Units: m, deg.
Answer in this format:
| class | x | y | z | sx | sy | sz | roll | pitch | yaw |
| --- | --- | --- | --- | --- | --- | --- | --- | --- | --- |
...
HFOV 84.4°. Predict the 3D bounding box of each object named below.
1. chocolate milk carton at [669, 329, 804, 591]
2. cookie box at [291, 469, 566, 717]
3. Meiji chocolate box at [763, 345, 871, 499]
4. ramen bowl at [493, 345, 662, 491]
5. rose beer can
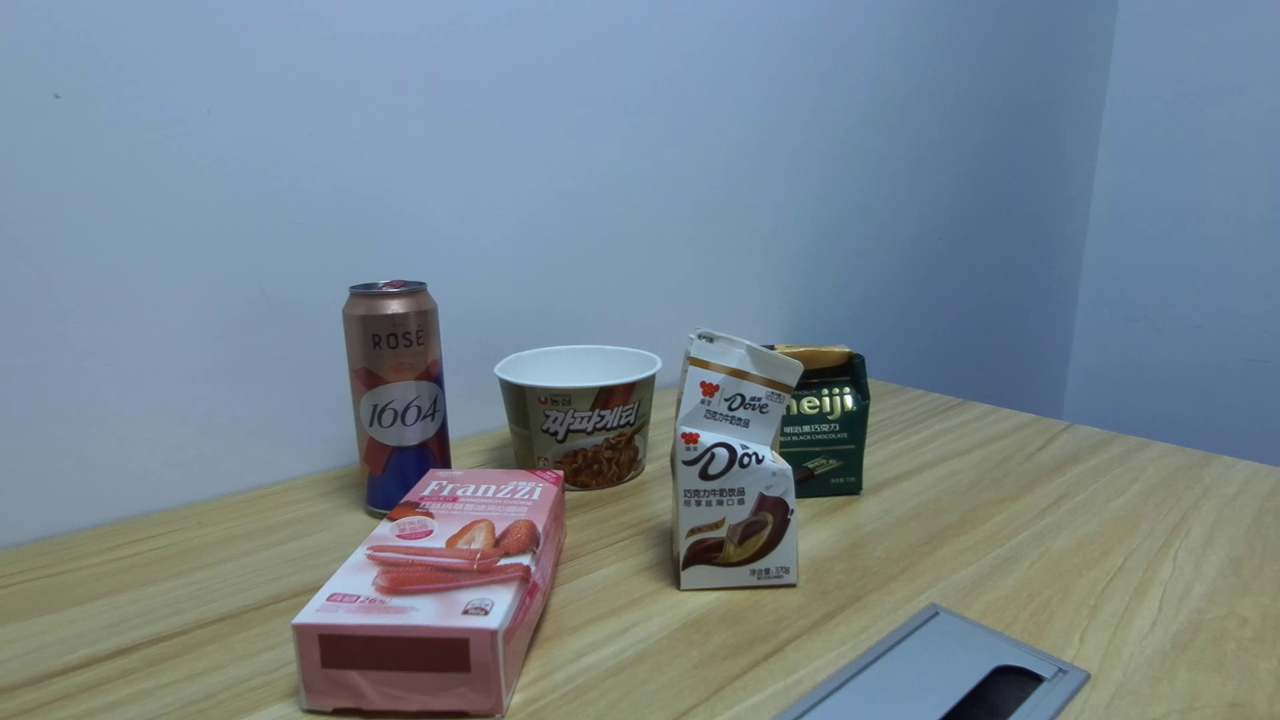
| class | x | y | z | sx | sy | sz | roll | pitch | yaw |
| --- | --- | --- | --- | --- | --- | --- | --- | --- | --- |
| chocolate milk carton | 0.057 | 0.054 | 0.430 | 0.076 | 0.155 | 0.073 | -1 | 17 | -2 |
| cookie box | -0.099 | 0.119 | 0.403 | 0.105 | 0.049 | 0.187 | 1 | 13 | 3 |
| Meiji chocolate box | 0.119 | 0.046 | 0.558 | 0.117 | 0.117 | 0.051 | -2 | 8 | -4 |
| ramen bowl | -0.049 | 0.047 | 0.601 | 0.140 | 0.095 | 0.140 | -1 | 14 | 0 |
| rose beer can | -0.180 | 0.030 | 0.530 | 0.068 | 0.169 | 0.068 | 1 | 14 | 0 |
